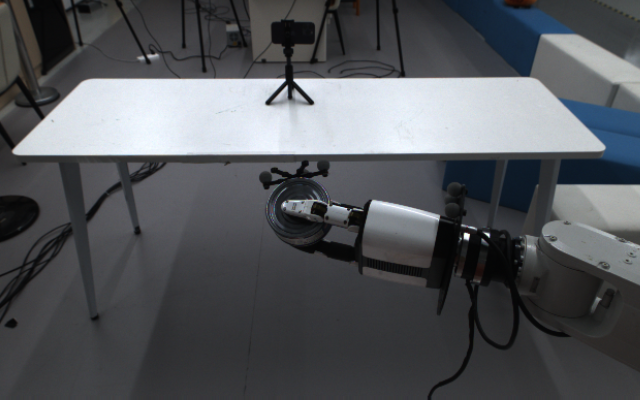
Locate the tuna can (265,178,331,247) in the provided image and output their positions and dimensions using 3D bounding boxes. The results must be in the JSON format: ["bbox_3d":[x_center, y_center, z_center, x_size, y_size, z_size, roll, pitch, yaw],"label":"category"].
[{"bbox_3d":[-0.021,0.020,0.620,0.085,0.034,0.085,-4,68,9],"label":"tuna can"}]
